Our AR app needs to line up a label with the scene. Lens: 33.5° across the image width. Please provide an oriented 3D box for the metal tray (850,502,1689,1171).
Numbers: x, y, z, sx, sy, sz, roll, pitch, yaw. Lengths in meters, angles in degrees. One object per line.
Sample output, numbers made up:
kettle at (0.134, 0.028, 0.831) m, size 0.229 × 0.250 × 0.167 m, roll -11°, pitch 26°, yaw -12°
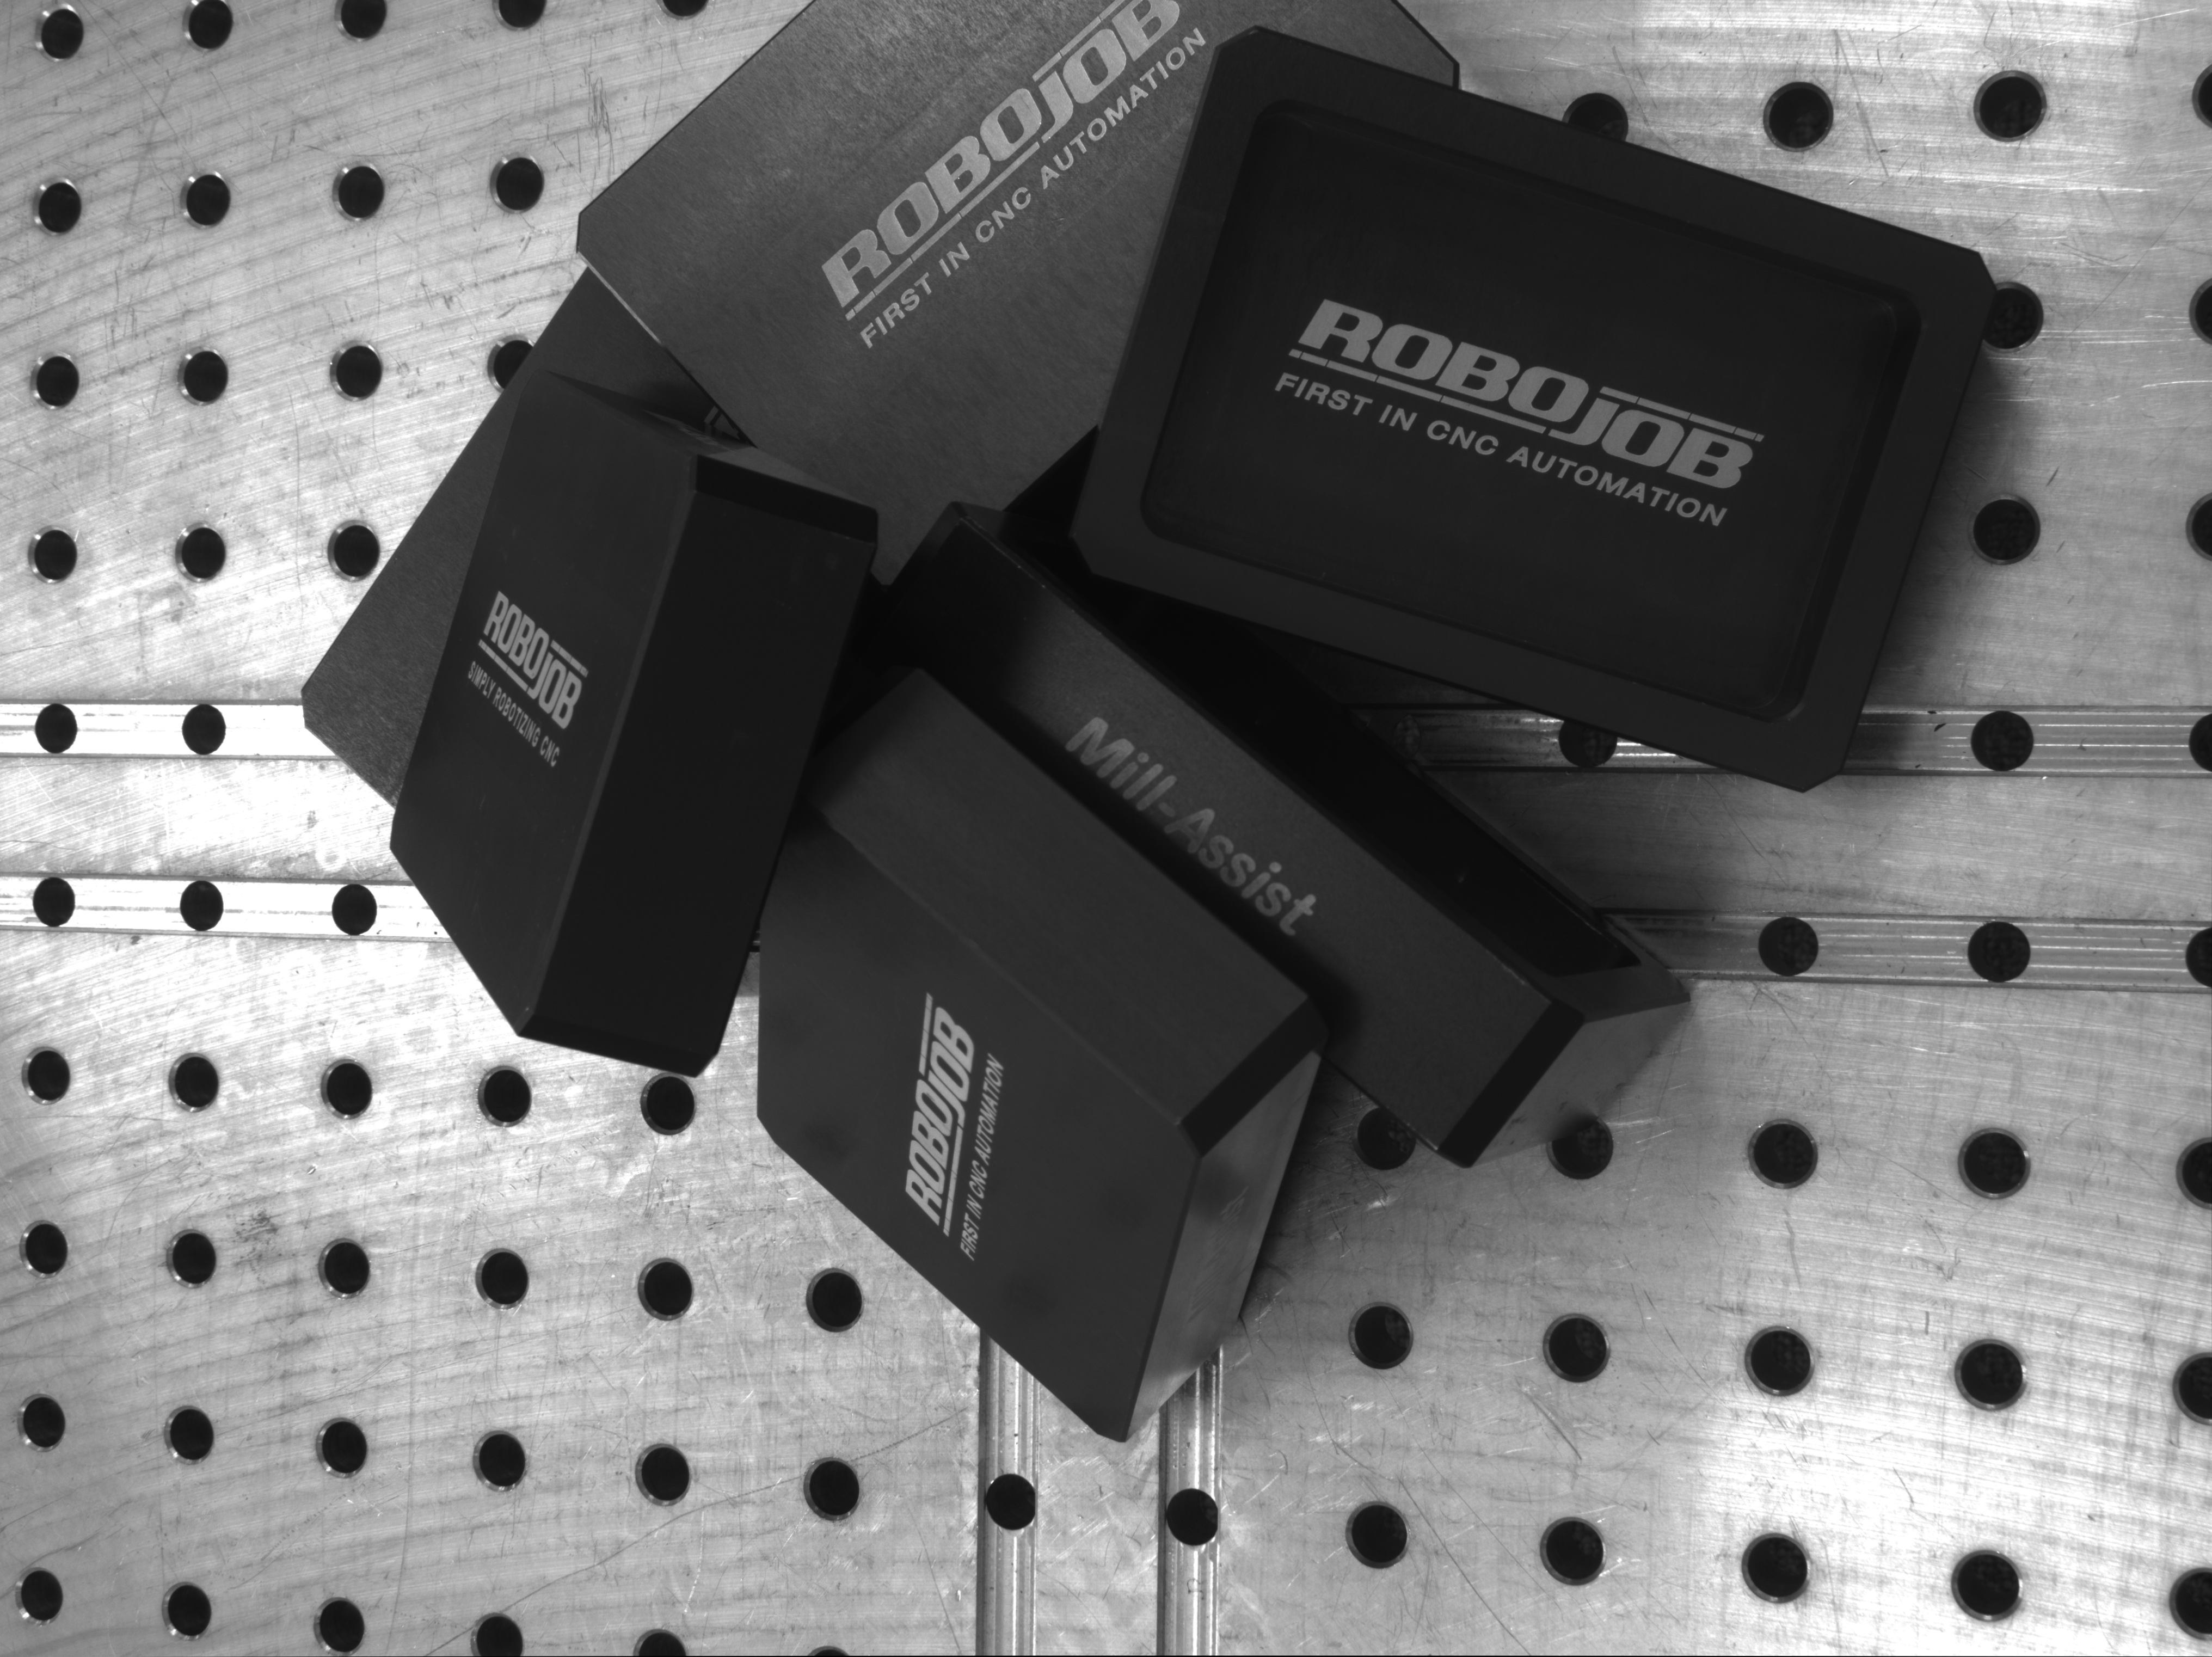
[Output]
metal tray at (0.029, 0.000, 0.603) m, size 0.130 × 0.090 × 0.030 m, roll 40°, pitch 103°, yaw 16°

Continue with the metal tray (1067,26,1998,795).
metal tray at (0.067, -0.067, 0.596) m, size 0.130 × 0.030 × 0.090 m, roll 17°, pitch 96°, yaw -3°

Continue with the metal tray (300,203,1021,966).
metal tray at (-0.078, -0.045, 0.675) m, size 0.090 × 0.030 × 0.130 m, roll 40°, pitch 103°, yaw 15°

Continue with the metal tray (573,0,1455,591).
metal tray at (-0.015, -0.111, 0.632) m, size 0.130 × 0.030 × 0.090 m, roll -42°, pitch 80°, yaw 0°

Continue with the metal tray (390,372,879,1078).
metal tray at (-0.081, -0.021, 0.598) m, size 0.030 × 0.130 × 0.090 m, roll 15°, pitch 97°, yaw -23°

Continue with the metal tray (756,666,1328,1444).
metal tray at (-0.015, 0.041, 0.604) m, size 0.090 × 0.130 × 0.030 m, roll 40°, pitch 64°, yaw 16°
